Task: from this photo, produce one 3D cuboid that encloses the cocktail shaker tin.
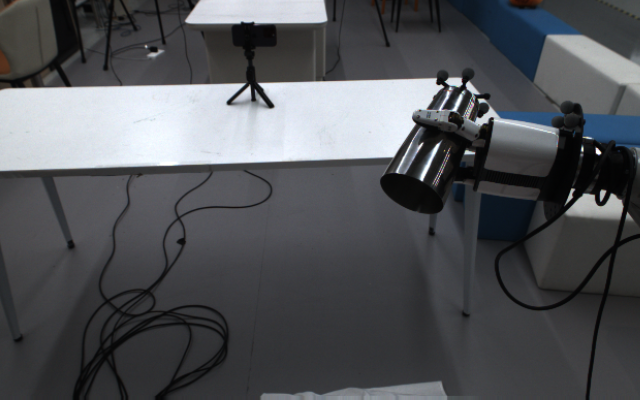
[{"bbox_3d":[0.164,-0.080,0.676,0.093,0.093,0.170,20,67,23],"label":"cocktail shaker tin"}]
